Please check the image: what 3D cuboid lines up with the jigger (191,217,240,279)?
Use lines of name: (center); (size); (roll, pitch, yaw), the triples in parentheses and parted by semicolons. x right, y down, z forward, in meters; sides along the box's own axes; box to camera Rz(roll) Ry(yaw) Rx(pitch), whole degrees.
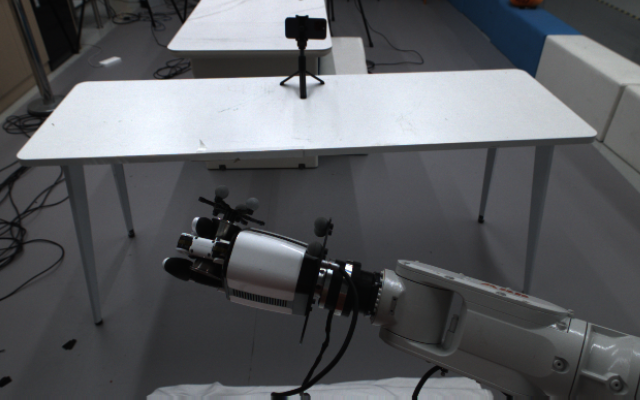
jigger: (-0.128, 0.059, 0.600); (0.043, 0.043, 0.071); (15, 70, 18)
